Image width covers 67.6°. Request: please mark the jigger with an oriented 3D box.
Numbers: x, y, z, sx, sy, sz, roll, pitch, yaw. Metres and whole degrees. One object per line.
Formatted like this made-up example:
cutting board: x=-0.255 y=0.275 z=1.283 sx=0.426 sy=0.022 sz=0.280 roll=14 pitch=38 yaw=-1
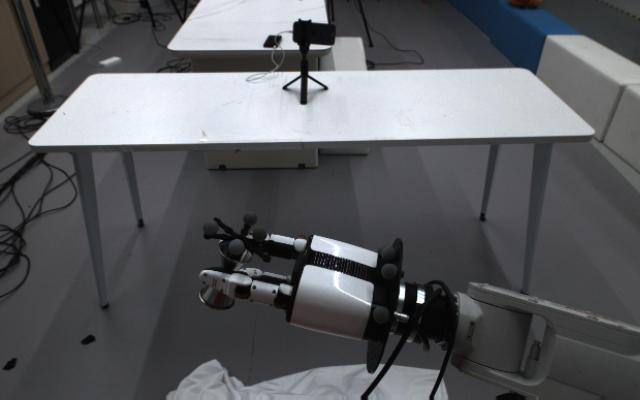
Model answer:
jigger: x=-0.110 y=0.089 z=0.569 sx=0.043 sy=0.071 sz=0.043 roll=23 pitch=19 yaw=-8
